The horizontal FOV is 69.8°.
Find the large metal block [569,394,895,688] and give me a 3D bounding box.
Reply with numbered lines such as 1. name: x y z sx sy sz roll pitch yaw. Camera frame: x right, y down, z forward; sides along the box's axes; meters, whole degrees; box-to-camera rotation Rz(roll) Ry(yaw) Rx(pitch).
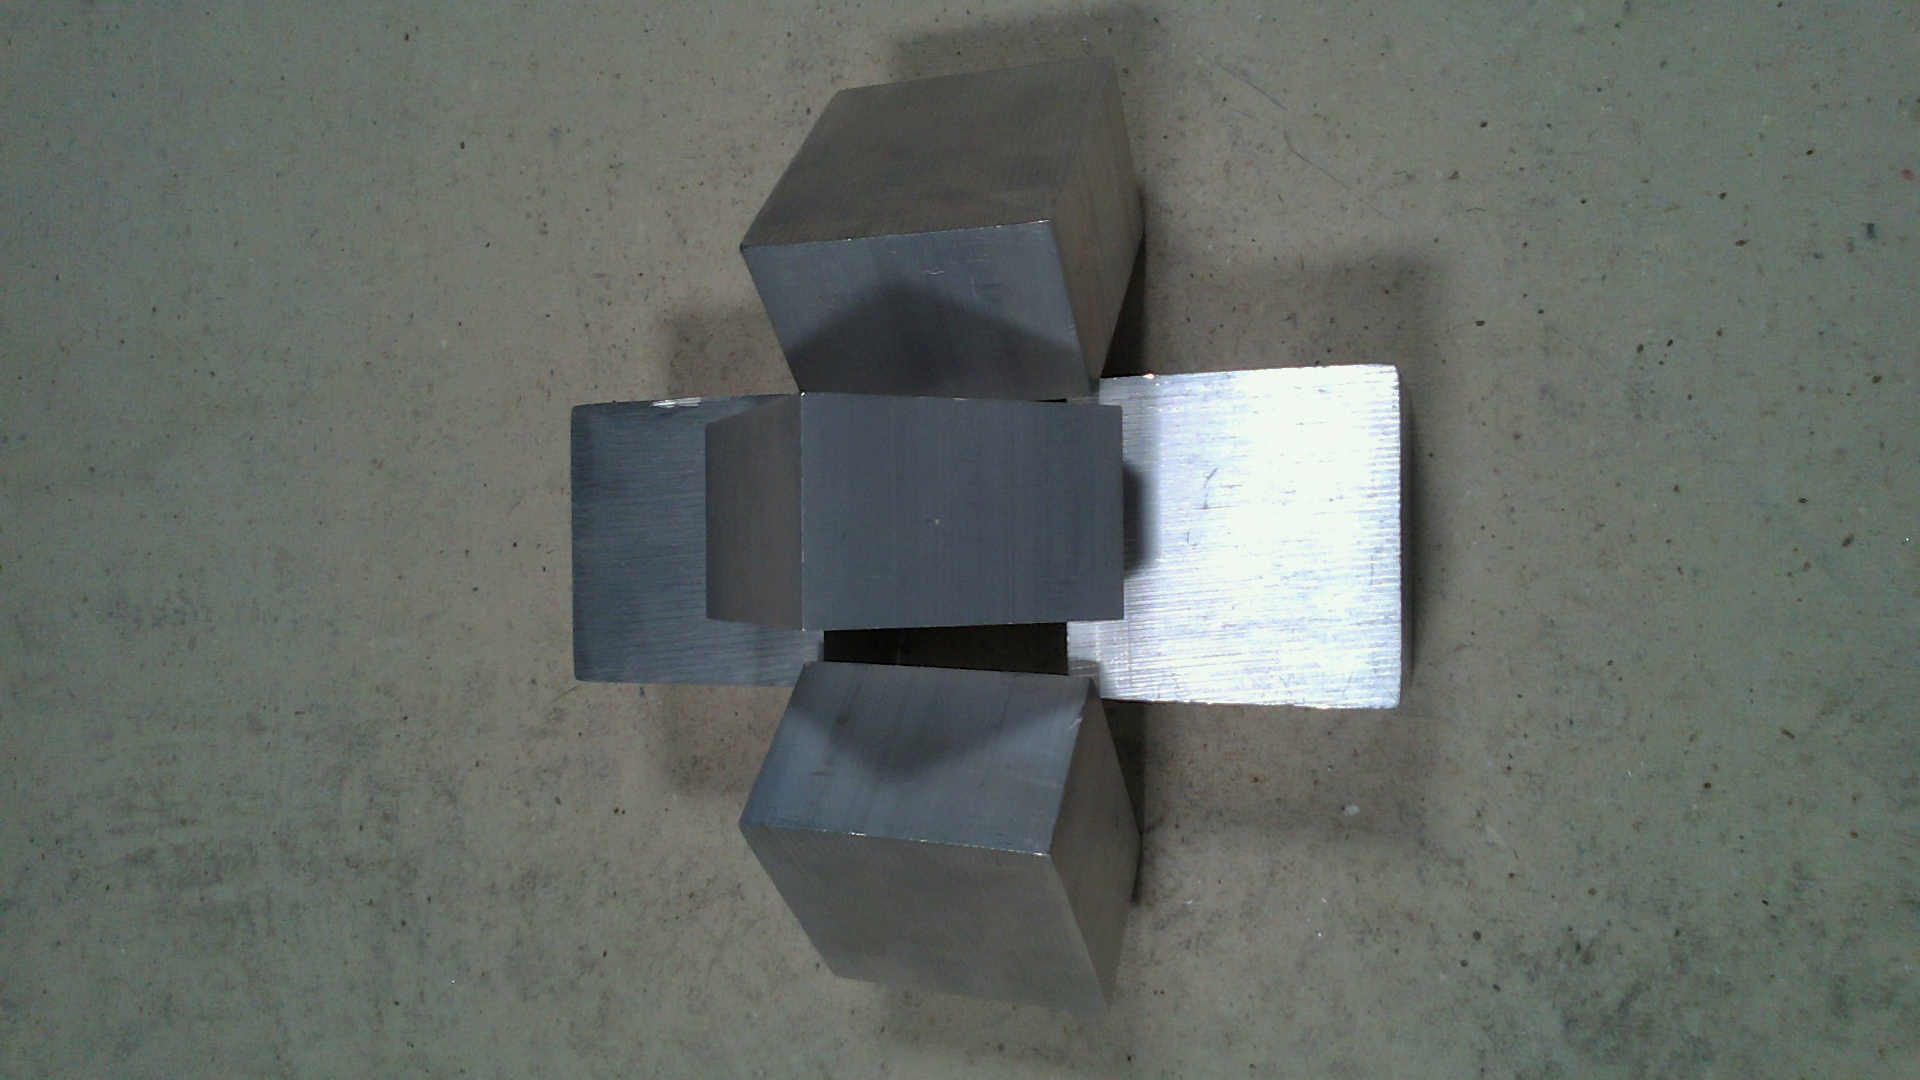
1. large metal block: -0.066 0.000 0.407 0.080 0.050 0.080 -1 90 20

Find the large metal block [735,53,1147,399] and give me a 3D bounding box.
1. large metal block: -0.001 -0.081 0.361 0.080 0.080 0.050 0 134 20

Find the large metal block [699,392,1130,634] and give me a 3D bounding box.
1. large metal block: -0.014 -0.006 0.337 0.080 0.080 0.050 179 90 -64

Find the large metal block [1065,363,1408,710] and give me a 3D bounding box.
1. large metal block: 0.072 -0.001 0.354 0.080 0.050 0.080 0 90 20

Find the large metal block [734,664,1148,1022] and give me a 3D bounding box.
1. large metal block: -0.001 0.079 0.361 0.080 0.080 0.050 1 47 21
